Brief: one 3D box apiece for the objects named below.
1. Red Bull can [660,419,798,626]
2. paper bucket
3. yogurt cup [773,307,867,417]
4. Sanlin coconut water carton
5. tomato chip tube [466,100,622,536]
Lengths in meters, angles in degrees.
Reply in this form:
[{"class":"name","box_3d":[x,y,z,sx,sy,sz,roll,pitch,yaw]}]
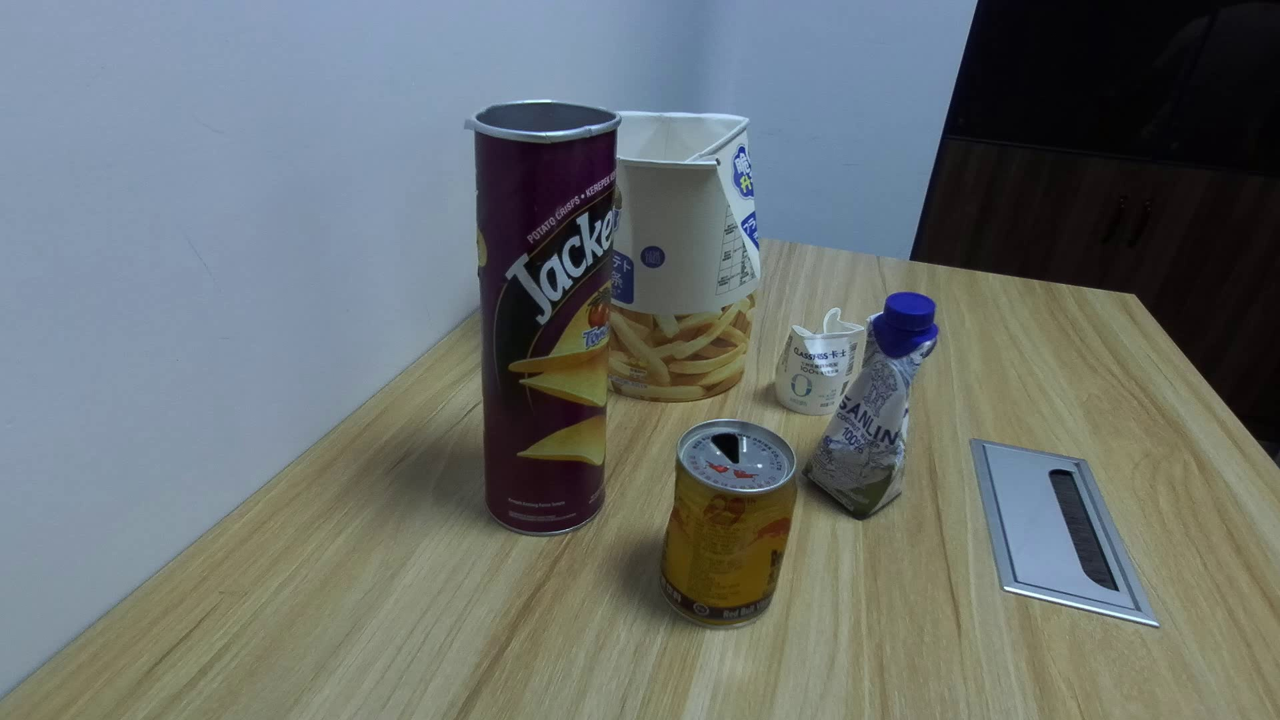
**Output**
[{"class":"Red Bull can","box_3d":[0.046,0.085,0.372,0.068,0.093,0.068,3,30,-1]},{"class":"paper bucket","box_3d":[0.026,-0.081,0.562,0.169,0.202,0.162,-6,32,-12]},{"class":"yogurt cup","box_3d":[0.139,0.002,0.553,0.055,0.072,0.055,-4,33,-11]},{"class":"Sanlin coconut water carton","box_3d":[0.160,0.027,0.445,0.069,0.144,0.056,-11,38,-42]},{"class":"tomato chip tube","box_3d":[-0.052,-0.016,0.399,0.080,0.234,0.076,-18,35,-34]}]
